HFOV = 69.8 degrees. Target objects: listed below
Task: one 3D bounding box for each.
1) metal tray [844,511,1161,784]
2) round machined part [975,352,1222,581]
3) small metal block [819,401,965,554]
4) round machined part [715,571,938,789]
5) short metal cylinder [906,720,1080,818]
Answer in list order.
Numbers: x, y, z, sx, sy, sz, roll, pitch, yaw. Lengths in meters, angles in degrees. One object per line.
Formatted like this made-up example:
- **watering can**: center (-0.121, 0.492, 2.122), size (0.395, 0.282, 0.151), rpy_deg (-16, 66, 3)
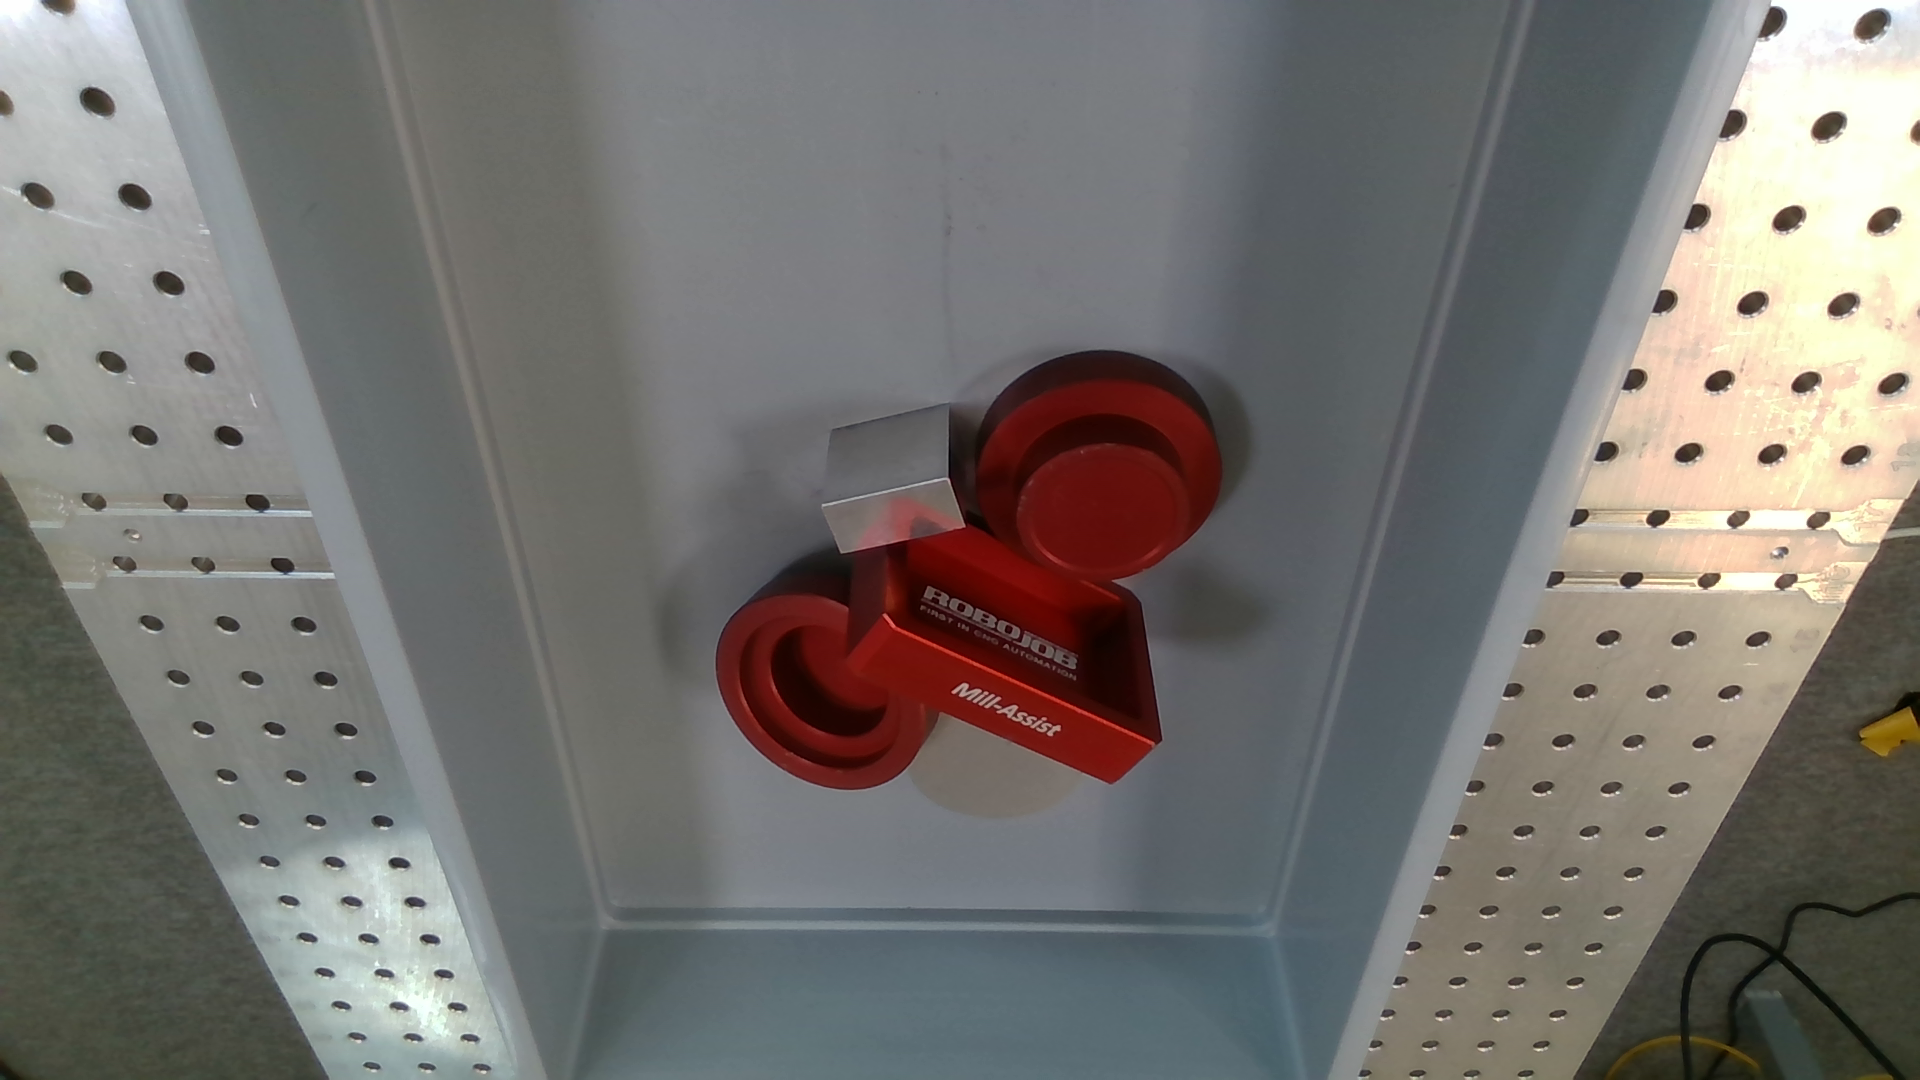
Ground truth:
- **metal tray**: center (0.018, 0.037, 0.566), size (0.130, 0.090, 0.030), rpy_deg (26, 125, -20)
- **round machined part**: center (0.055, -0.022, 0.547), size (0.098, 0.042, 0.098), rpy_deg (0, 130, 0)
- **small metal block**: center (-0.026, -0.025, 0.540), size (0.050, 0.050, 0.025), rpy_deg (-12, 129, 10)
- **round machined part**: center (-0.054, 0.056, 0.599), size (0.098, 0.042, 0.098), rpy_deg (10, 121, 18)
- **short metal cylinder**: center (0.015, 0.082, 0.631), size (0.080, 0.050, 0.080), rpy_deg (0, 130, 0)
